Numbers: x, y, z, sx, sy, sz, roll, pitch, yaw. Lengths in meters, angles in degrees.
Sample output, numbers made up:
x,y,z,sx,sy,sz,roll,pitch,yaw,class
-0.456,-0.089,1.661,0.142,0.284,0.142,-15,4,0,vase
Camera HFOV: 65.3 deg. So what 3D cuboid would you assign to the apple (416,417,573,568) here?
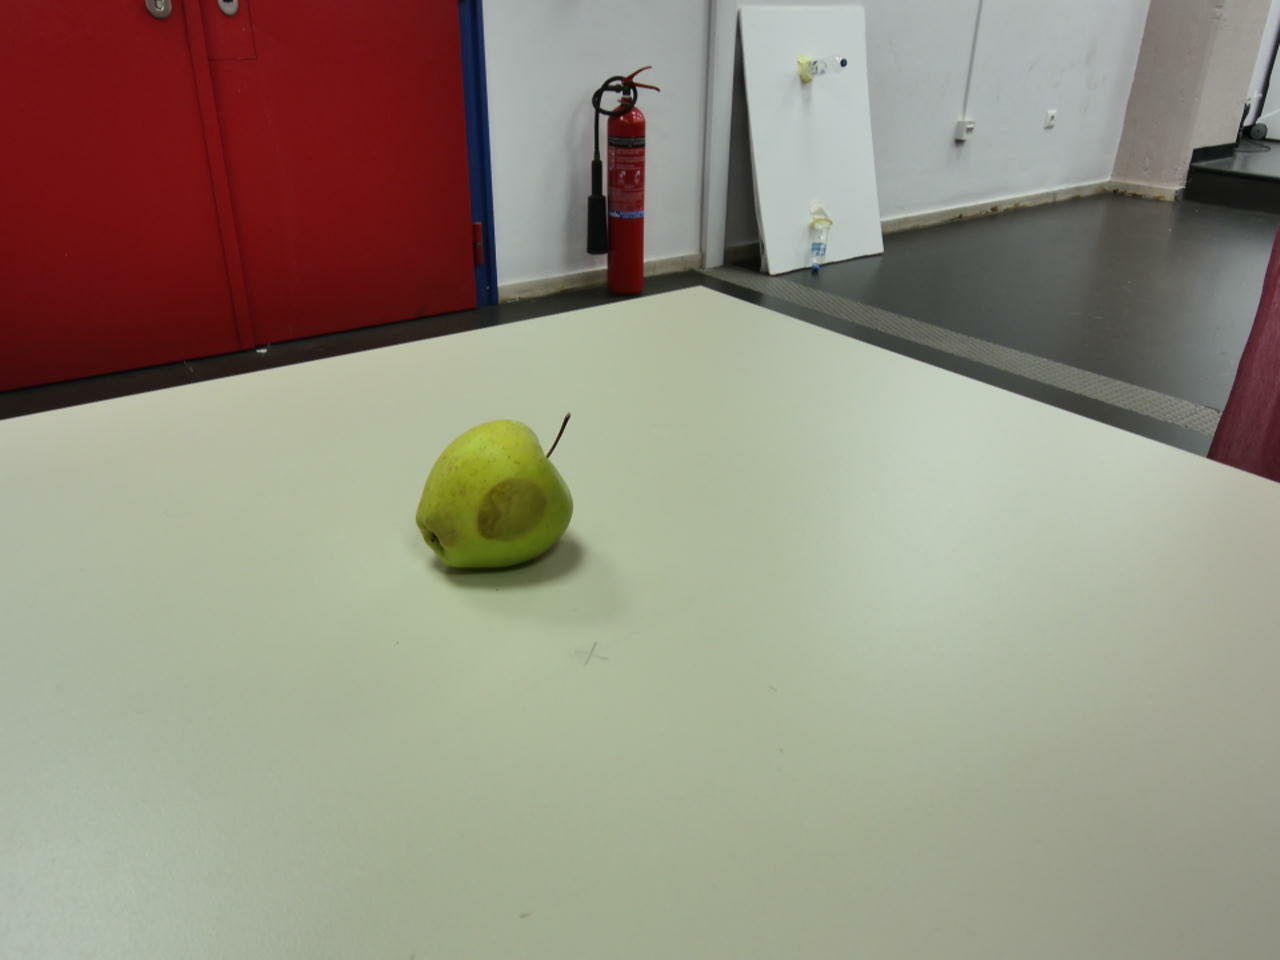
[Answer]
x,y,z,sx,sy,sz,roll,pitch,yaw,class
-0.074,0.006,0.516,0.077,0.075,0.072,5,25,6,apple
